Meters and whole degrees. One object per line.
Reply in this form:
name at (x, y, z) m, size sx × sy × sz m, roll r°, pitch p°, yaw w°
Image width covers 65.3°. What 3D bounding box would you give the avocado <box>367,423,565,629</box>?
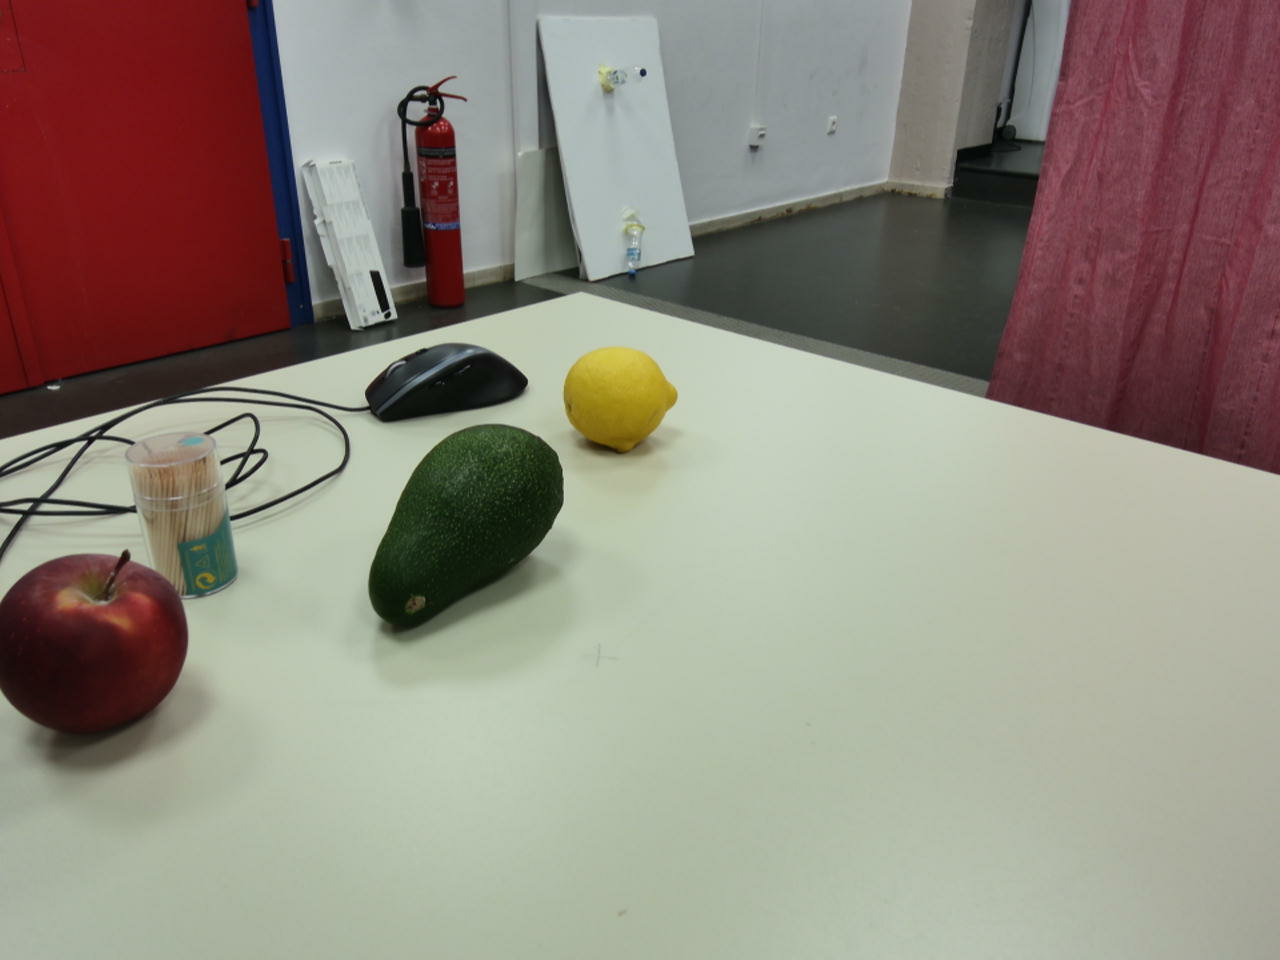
avocado at (-0.091, 0.015, 0.499) m, size 0.123 × 0.076 × 0.074 m, roll -20°, pitch 32°, yaw -39°
